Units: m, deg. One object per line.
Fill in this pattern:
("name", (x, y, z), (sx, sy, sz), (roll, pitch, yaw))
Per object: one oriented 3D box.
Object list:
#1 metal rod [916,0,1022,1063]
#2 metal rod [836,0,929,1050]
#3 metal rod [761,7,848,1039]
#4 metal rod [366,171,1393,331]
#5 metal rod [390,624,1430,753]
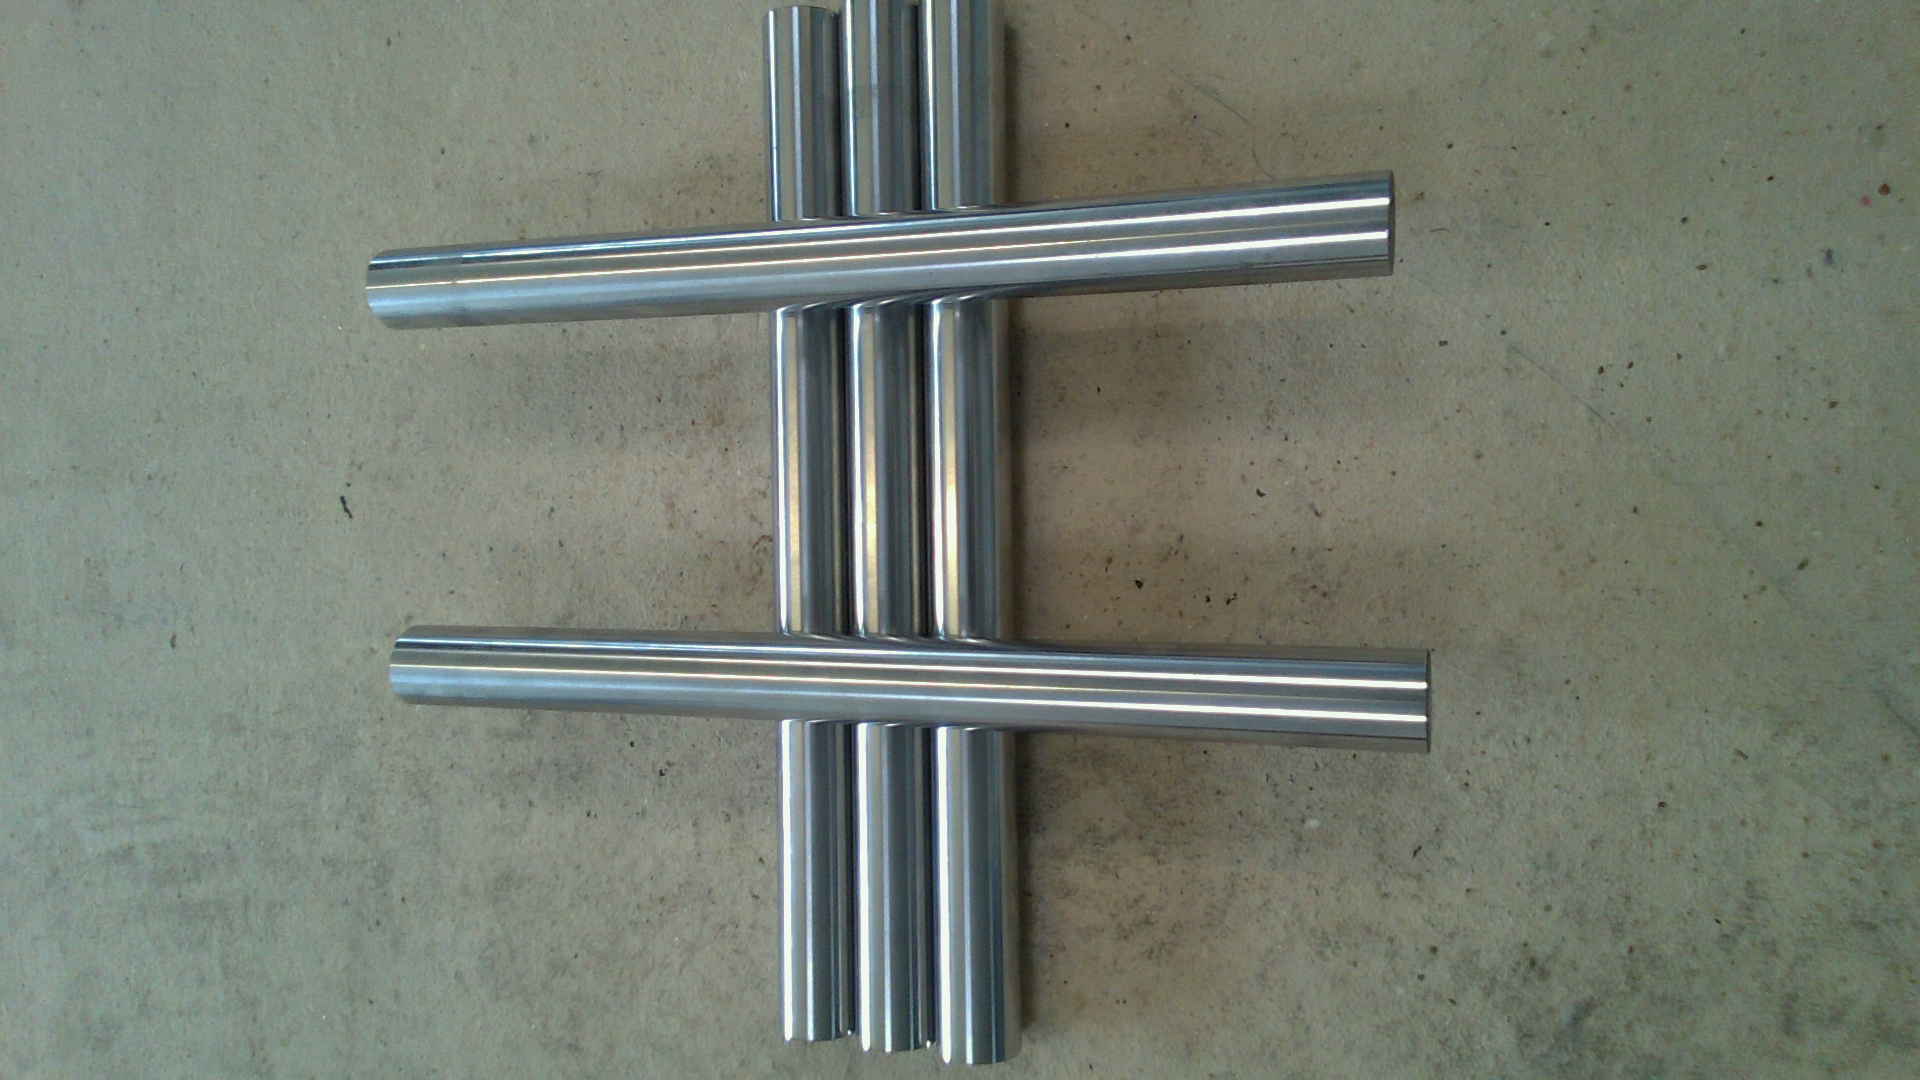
("metal rod", (0.003, -0.005, 0.395), (0.025, 0.025, 0.300), (-1, 90, 20))
("metal rod", (-0.021, -0.005, 0.404), (0.025, 0.025, 0.300), (-1, 90, 20))
("metal rod", (-0.045, -0.005, 0.412), (0.025, 0.025, 0.300), (-1, 90, 20))
("metal rod", (-0.037, -0.077, 0.382), (0.299, 0.025, 0.025), (0, 90, 20))
("metal rod", (-0.028, 0.038, 0.380), (0.299, 0.025, 0.025), (0, 90, 20))
